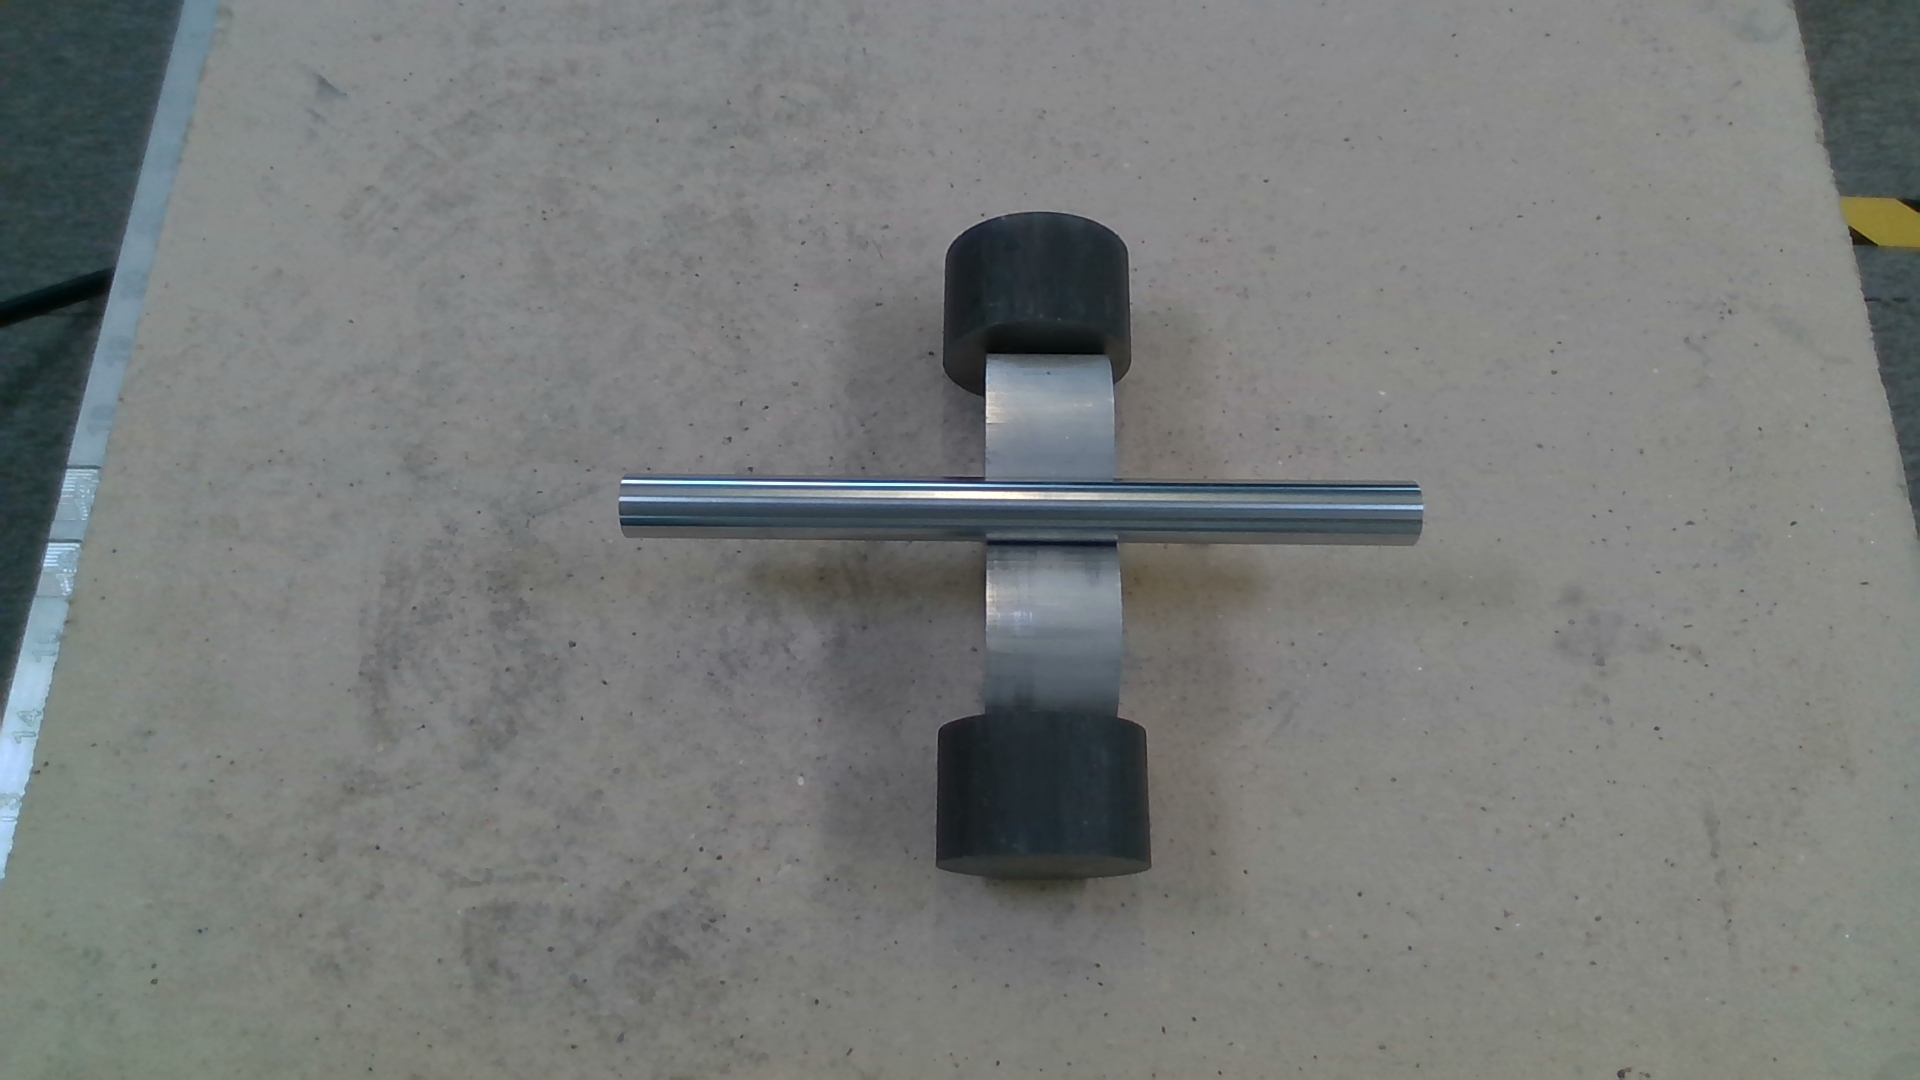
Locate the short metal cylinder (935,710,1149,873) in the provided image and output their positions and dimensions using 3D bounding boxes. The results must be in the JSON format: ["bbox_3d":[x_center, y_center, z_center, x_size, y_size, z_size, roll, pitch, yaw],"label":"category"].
[{"bbox_3d":[0.031,0.098,0.524,0.080,0.080,0.050,1,70,0],"label":"short metal cylinder"}]

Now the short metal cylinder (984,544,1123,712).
[{"bbox_3d":[0.035,0.037,0.546,0.050,0.080,0.080,1,70,0],"label":"short metal cylinder"}]

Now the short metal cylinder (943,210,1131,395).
[{"bbox_3d":[0.033,-0.099,0.595,0.080,0.080,0.050,1,70,0],"label":"short metal cylinder"}]

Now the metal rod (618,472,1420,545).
[{"bbox_3d":[0.022,-0.012,0.528,0.300,0.025,0.025,1,70,0],"label":"metal rod"}]

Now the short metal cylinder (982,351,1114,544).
[{"bbox_3d":[0.035,-0.038,0.573,0.050,0.080,0.080,1,70,0],"label":"short metal cylinder"}]
